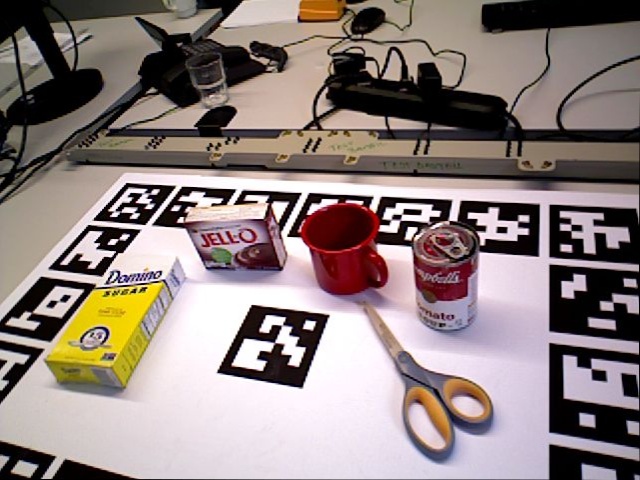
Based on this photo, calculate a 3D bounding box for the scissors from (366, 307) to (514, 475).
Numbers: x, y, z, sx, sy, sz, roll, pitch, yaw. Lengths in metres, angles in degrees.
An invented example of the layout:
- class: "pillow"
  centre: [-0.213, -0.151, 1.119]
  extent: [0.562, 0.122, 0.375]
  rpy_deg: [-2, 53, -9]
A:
- class: "scissors"
  centre: [0.102, 0.130, 0.542]
  extent: [0.087, 0.016, 0.201]
  rpy_deg: [-33, 46, -6]

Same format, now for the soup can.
- class: "soup can"
  centre: [0.144, 0.042, 0.574]
  extent: [0.068, 0.104, 0.067]
  rpy_deg: [-8, 41, 6]

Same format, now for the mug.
- class: "mug"
  centre: [0.045, 0.009, 0.639]
  extent: [0.092, 0.083, 0.116]
  rpy_deg: [-23, 41, -7]

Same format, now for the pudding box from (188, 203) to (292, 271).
- class: "pudding box"
  centre: [-0.098, -0.005, 0.682]
  extent: [0.114, 0.091, 0.038]
  rpy_deg: [-3, 49, 11]

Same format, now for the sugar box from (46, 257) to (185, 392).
- class: "sugar box"
  centre: [-0.240, 0.096, 0.658]
  extent: [0.093, 0.046, 0.173]
  rpy_deg: [0, 46, 18]
